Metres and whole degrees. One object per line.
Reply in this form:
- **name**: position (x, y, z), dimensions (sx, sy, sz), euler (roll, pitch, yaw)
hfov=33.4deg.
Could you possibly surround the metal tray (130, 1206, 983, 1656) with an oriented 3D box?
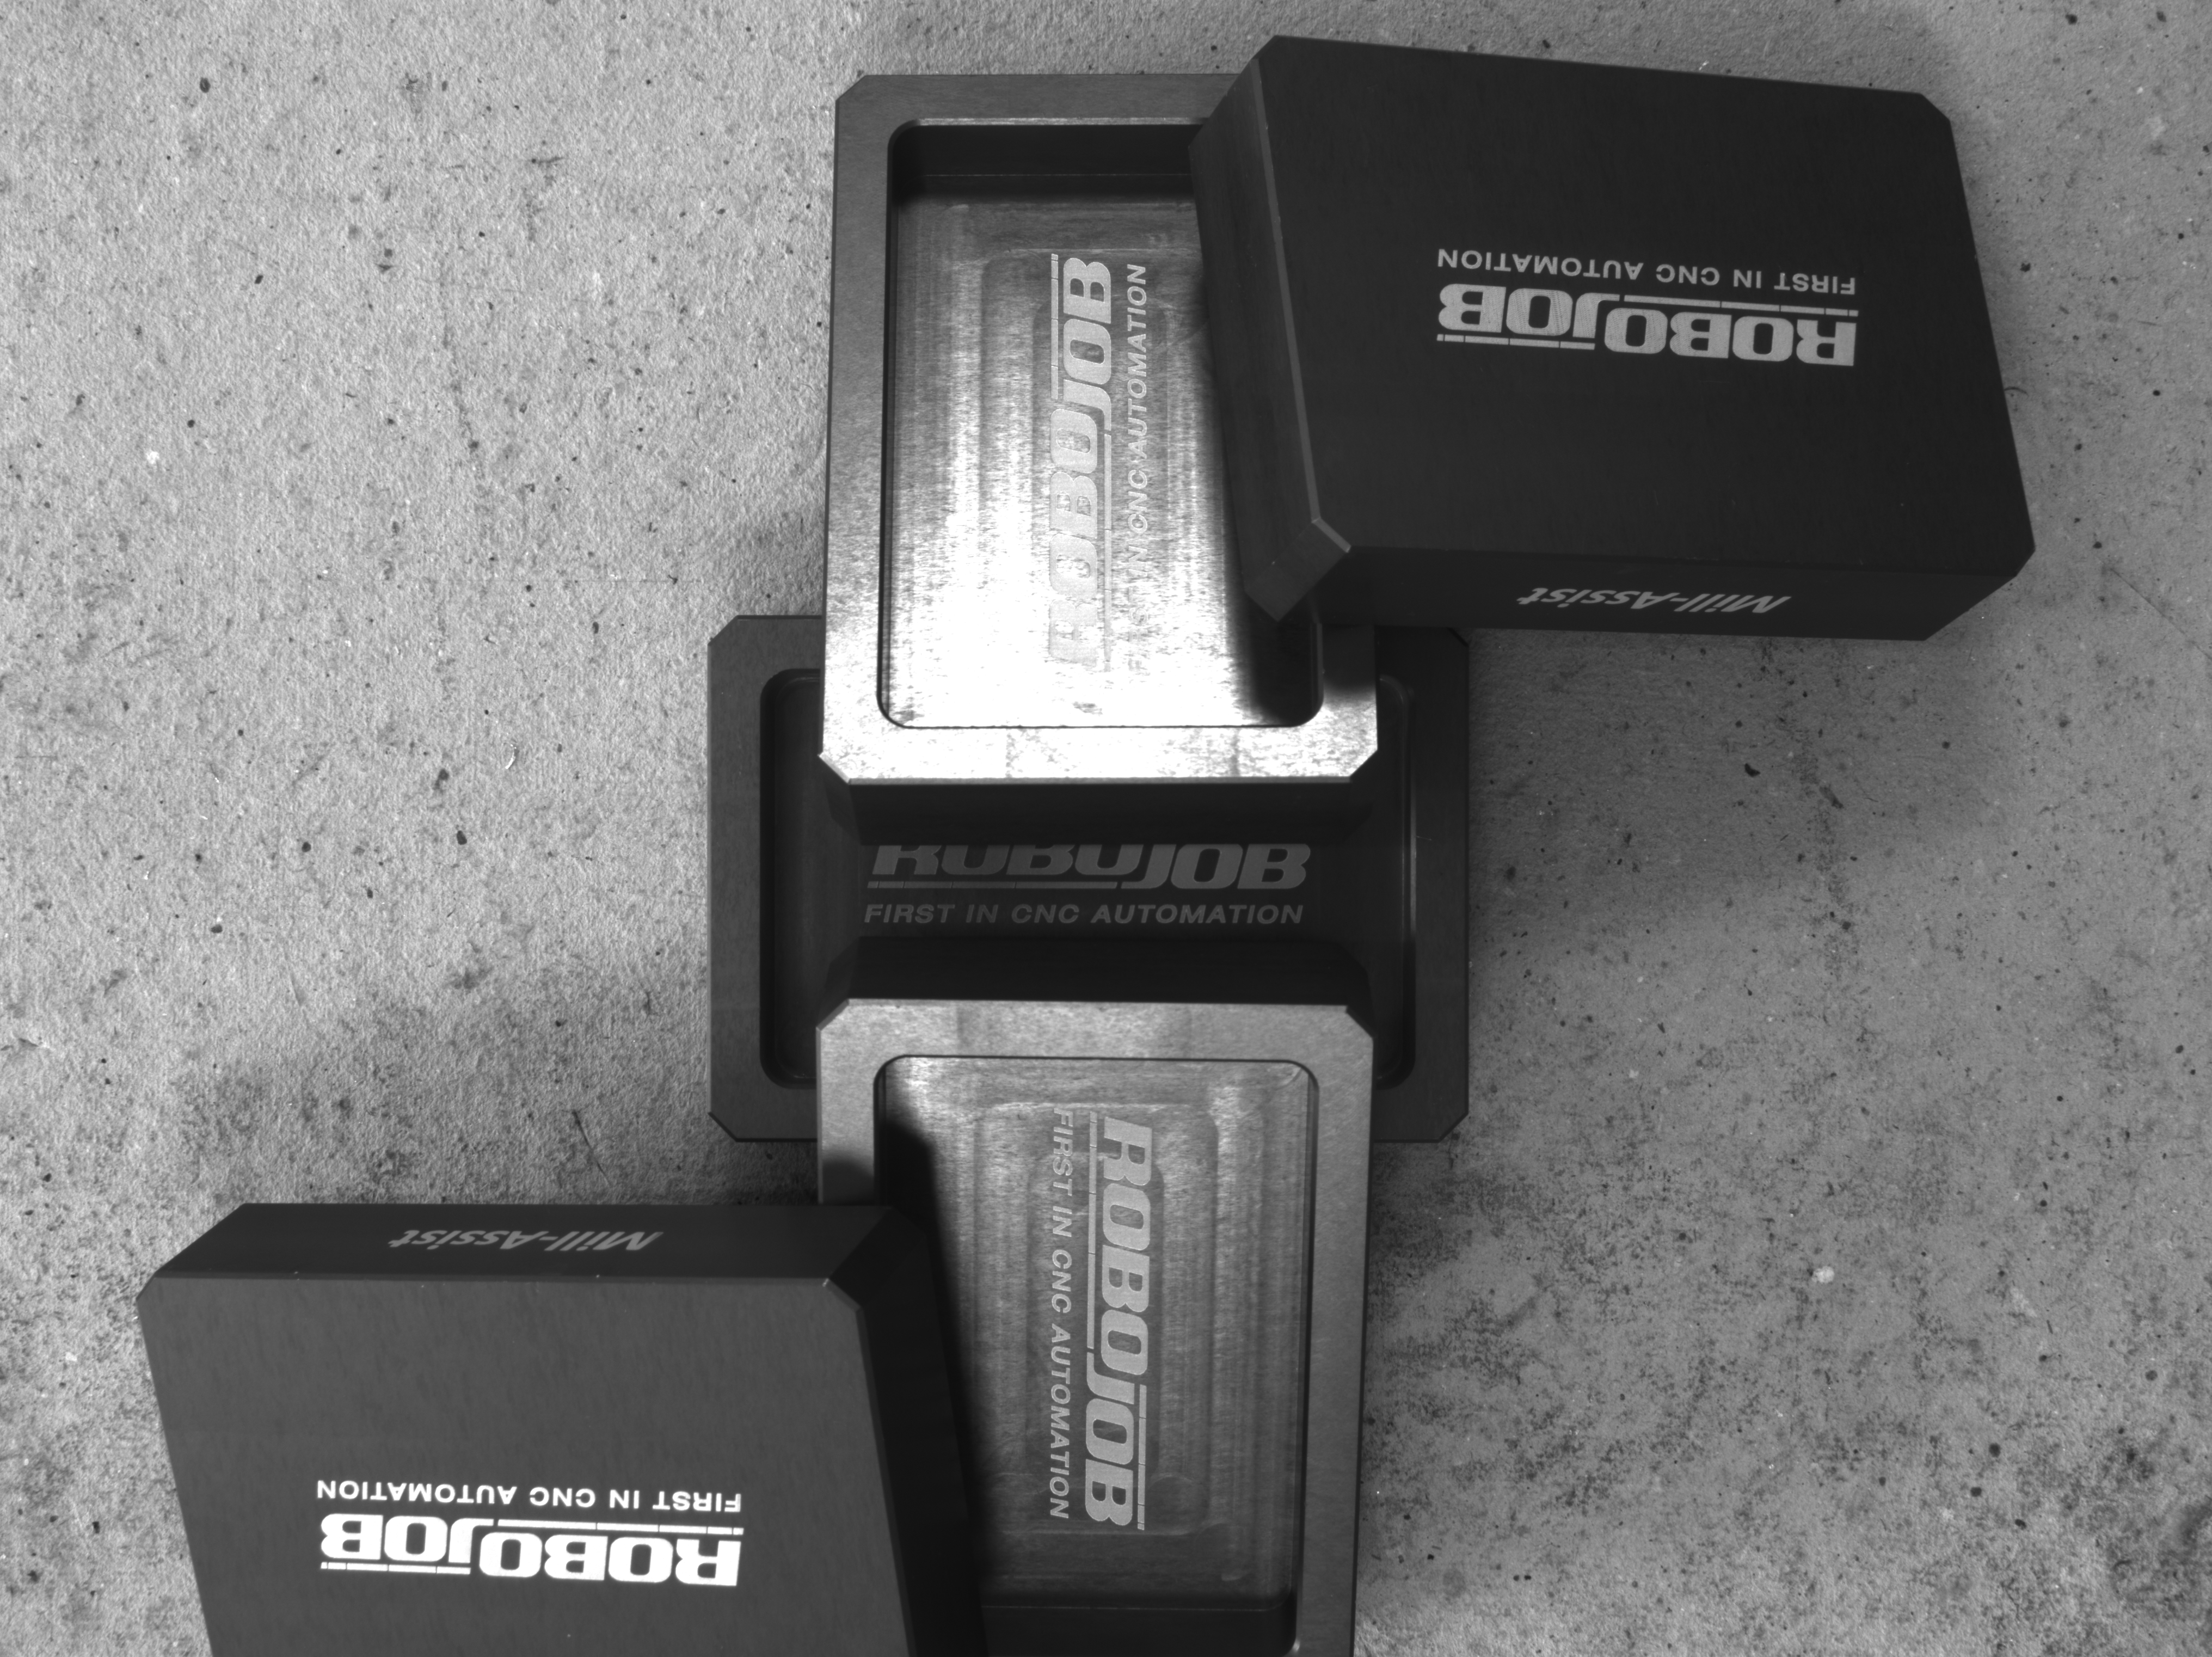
- **metal tray**: position (-0.091, 0.110, 0.614), dimensions (0.130, 0.030, 0.090), euler (-2, 107, 18)

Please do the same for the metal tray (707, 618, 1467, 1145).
- **metal tray**: position (-0.003, 0.009, 0.644), dimensions (0.130, 0.030, 0.090), euler (0, 90, 0)

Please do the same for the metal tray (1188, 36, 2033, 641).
- **metal tray**: position (0.083, -0.080, 0.612), dimensions (0.130, 0.030, 0.090), euler (1, 70, -21)

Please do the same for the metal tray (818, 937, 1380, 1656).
- **metal tray**: position (-0.002, 0.085, 0.623), dimensions (0.090, 0.030, 0.130), euler (1, 109, 0)

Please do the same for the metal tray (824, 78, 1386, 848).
- **metal tray**: position (0.000, -0.063, 0.623), dimensions (0.090, 0.030, 0.130), euler (0, 70, 0)
